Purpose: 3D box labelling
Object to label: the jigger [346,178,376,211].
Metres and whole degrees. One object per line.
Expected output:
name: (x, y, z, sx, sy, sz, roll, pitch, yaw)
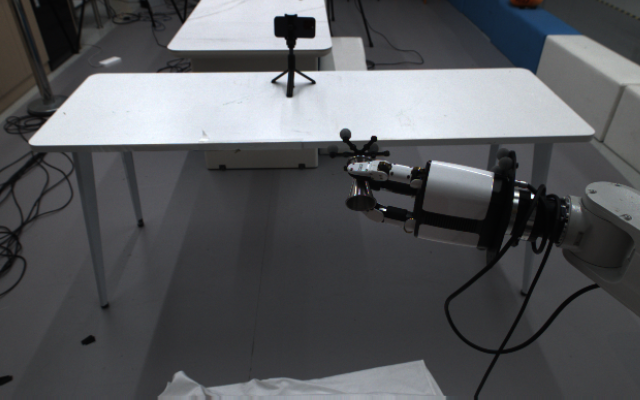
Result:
jigger: (0.057, -0.028, 0.685, 0.043, 0.043, 0.071, 2, 58, -1)
